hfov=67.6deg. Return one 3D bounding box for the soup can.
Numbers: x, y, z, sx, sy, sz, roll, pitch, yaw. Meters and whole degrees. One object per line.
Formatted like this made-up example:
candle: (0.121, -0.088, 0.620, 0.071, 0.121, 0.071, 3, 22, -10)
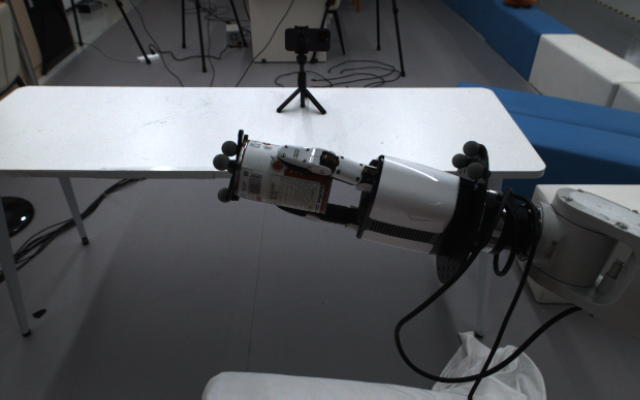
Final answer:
soup can: (-0.036, -0.026, 0.543, 0.101, 0.067, 0.067, 11, 35, -2)
